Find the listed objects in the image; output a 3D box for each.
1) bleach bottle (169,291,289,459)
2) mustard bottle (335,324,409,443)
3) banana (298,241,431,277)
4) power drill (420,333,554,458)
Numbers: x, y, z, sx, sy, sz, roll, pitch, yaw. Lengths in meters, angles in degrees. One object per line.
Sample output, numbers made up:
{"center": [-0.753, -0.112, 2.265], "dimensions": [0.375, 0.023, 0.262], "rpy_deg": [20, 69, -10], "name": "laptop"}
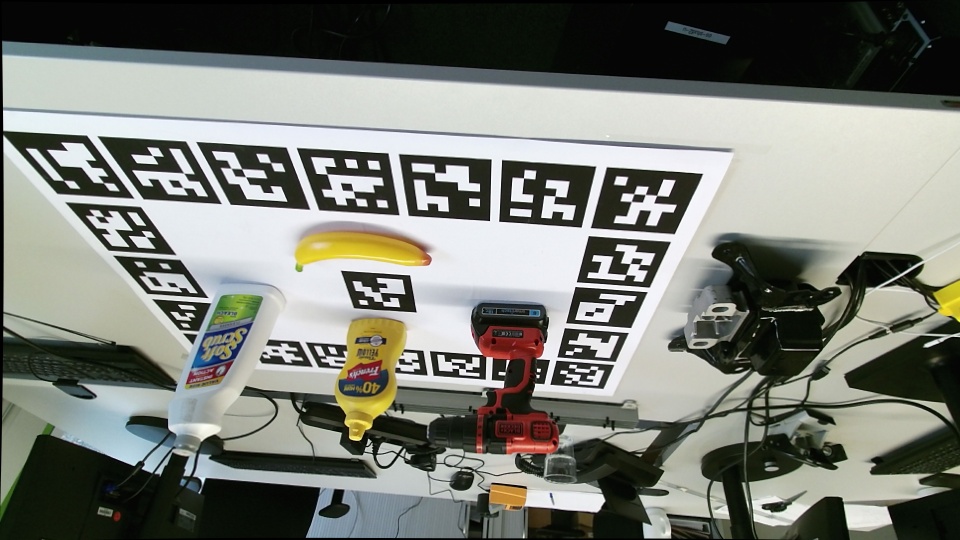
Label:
{"center": [-0.370, 0.149, 0.784], "dimensions": [0.103, 0.249, 0.068], "rpy_deg": [9, 141, -3], "name": "bleach bottle"}
{"center": [-0.177, 0.178, 0.845], "dimensions": [0.096, 0.190, 0.058], "rpy_deg": [0, 140, 10], "name": "mustard bottle"}
{"center": [-0.167, -0.007, 0.721], "dimensions": [0.198, 0.038, 0.074], "rpy_deg": [-2, 138, 5], "name": "banana"}
{"center": [0.010, 0.184, 0.780], "dimensions": [0.185, 0.186, 0.057], "rpy_deg": [-3, 140, 5], "name": "power drill"}
